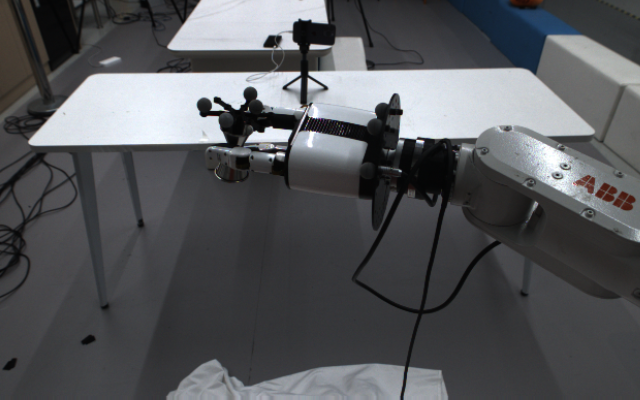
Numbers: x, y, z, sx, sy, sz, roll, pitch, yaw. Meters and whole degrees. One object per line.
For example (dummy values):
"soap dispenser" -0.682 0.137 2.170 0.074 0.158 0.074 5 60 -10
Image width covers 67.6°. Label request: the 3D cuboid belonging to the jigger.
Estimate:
"jigger" -0.107 -0.061 0.603 0.043 0.071 0.043 10 36 -7
